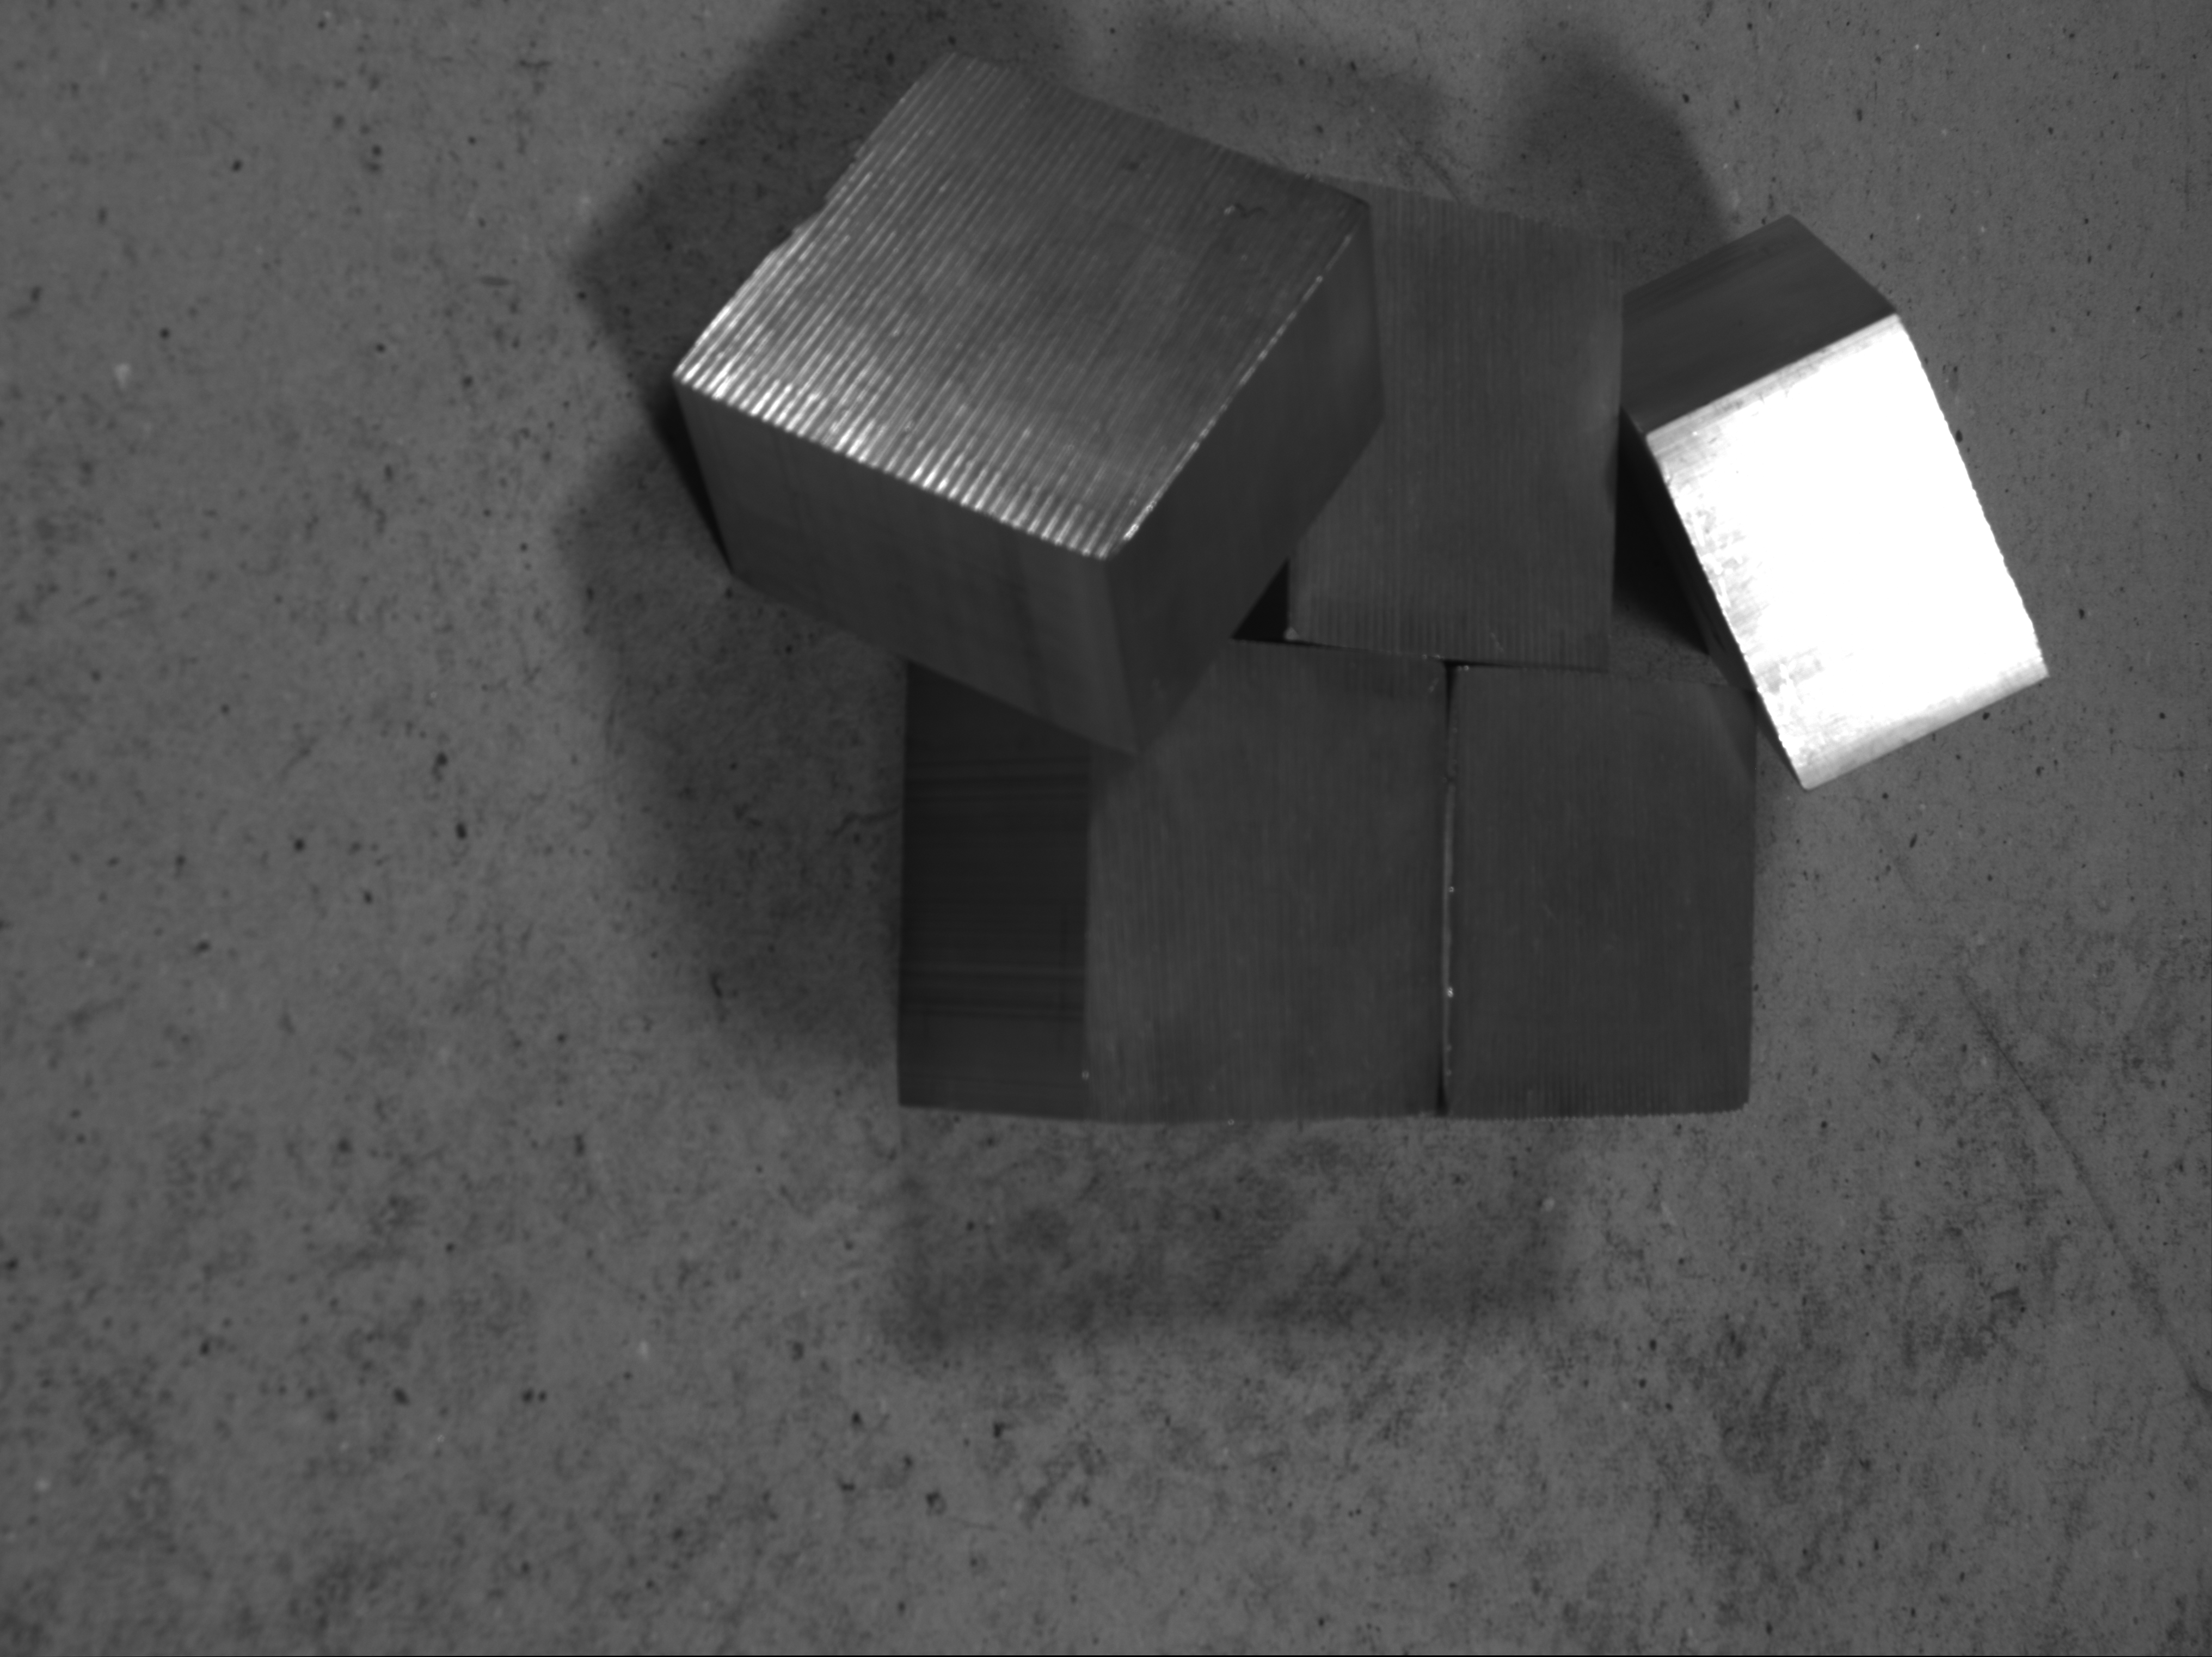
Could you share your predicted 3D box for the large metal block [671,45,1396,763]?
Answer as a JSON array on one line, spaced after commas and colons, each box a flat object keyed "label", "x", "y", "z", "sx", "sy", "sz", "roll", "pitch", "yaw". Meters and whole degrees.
[{"label": "large metal block", "x": -0.009, "y": -0.069, "z": 0.585, "sx": 0.080, "sy": 0.080, "sz": 0.050, "roll": -55, "pitch": 156, "yaw": -26}]

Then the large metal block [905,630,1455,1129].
[{"label": "large metal block", "x": 0.013, "y": 0.009, "z": 0.632, "sx": 0.080, "sy": 0.050, "sz": 0.080, "roll": 2, "pitch": 89, "yaw": -40}]

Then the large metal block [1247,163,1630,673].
[{"label": "large metal block", "x": 0.048, "y": -0.070, "z": 0.661, "sx": 0.080, "sy": 0.050, "sz": 0.080, "roll": 4, "pitch": 88, "yaw": -40}]

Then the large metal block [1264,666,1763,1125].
[{"label": "large metal block", "x": 0.076, "y": 0.013, "z": 0.682, "sx": 0.080, "sy": 0.050, "sz": 0.080, "roll": 2, "pitch": 89, "yaw": -40}]

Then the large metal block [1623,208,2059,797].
[{"label": "large metal block", "x": 0.134, "y": -0.064, "z": 0.706, "sx": 0.050, "sy": 0.080, "sz": 0.080, "roll": -26, "pitch": 111, "yaw": 6}]
